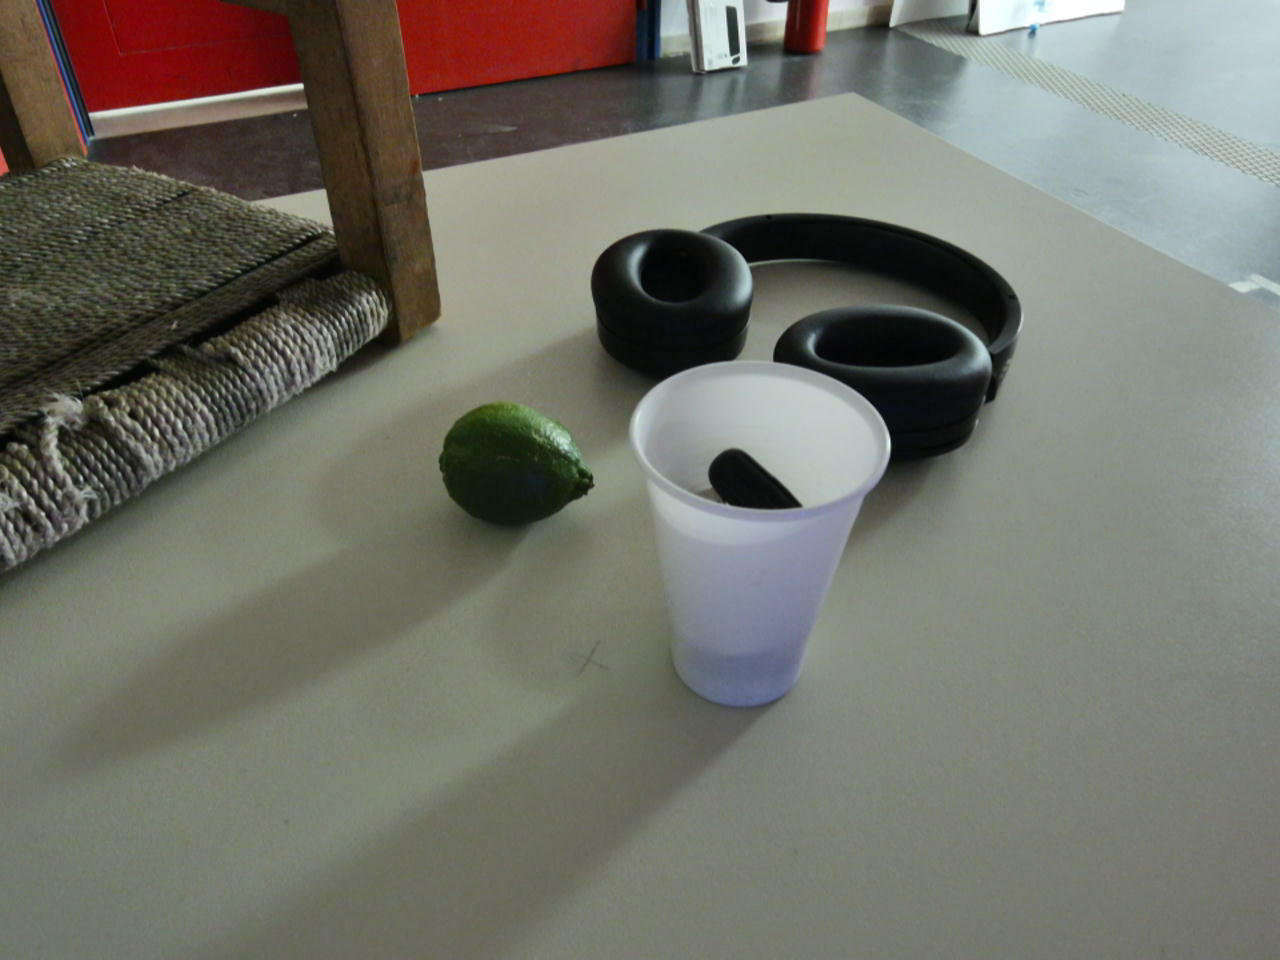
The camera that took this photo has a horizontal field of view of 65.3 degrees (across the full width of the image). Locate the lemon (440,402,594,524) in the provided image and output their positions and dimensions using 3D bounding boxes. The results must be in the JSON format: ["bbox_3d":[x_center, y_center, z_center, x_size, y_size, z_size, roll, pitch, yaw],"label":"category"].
[{"bbox_3d":[-0.054,-0.007,0.417,0.057,0.051,0.054,-20,42,-24],"label":"lemon"}]
